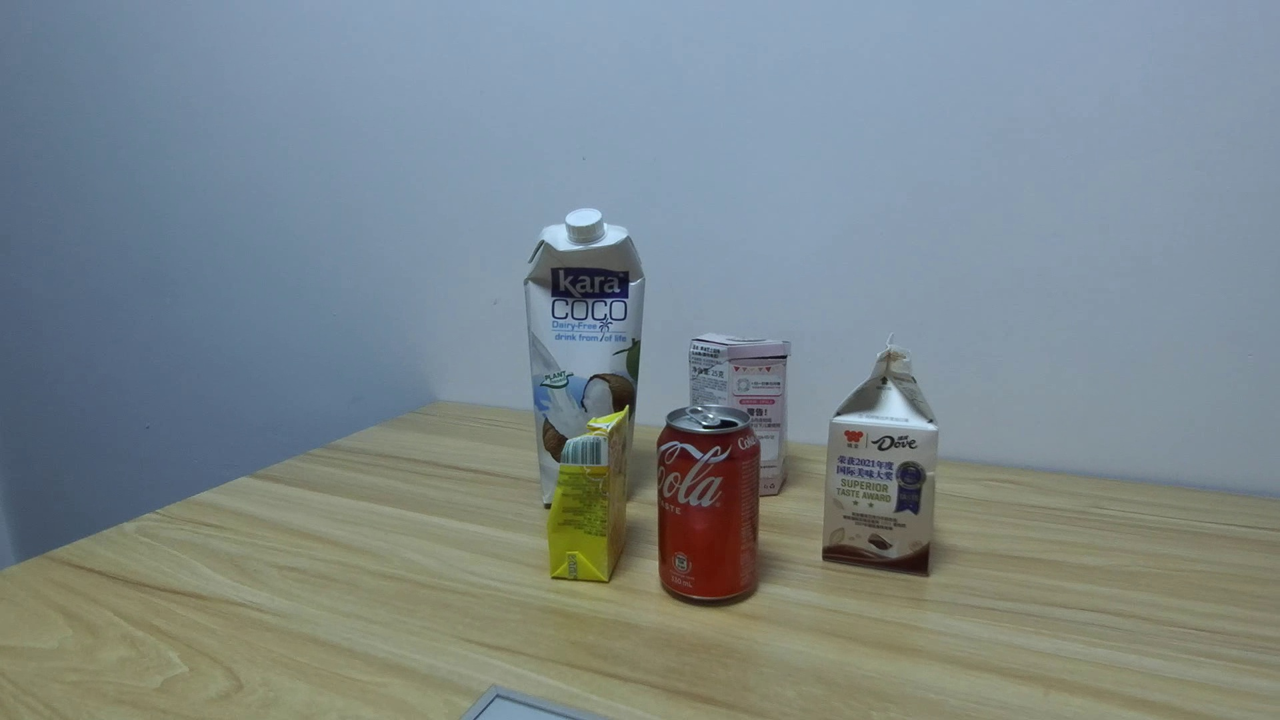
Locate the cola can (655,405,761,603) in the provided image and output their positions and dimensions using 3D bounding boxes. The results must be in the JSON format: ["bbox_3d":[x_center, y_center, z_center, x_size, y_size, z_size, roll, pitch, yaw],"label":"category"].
[{"bbox_3d":[0.044,0.091,0.460,0.068,0.120,0.068,-2,13,1],"label":"cola can"}]

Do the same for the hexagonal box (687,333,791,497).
[{"bbox_3d":[0.089,0.045,0.626,0.092,0.135,0.085,-3,13,-8],"label":"hexagonal box"}]

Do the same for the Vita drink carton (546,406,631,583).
[{"bbox_3d":[-0.035,0.090,0.496,0.046,0.109,0.071,4,13,10],"label":"Vita drink carton"}]

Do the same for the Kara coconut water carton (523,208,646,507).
[{"bbox_3d":[-0.043,-0.002,0.596,0.099,0.244,0.071,-3,14,-2],"label":"Kara coconut water carton"}]
